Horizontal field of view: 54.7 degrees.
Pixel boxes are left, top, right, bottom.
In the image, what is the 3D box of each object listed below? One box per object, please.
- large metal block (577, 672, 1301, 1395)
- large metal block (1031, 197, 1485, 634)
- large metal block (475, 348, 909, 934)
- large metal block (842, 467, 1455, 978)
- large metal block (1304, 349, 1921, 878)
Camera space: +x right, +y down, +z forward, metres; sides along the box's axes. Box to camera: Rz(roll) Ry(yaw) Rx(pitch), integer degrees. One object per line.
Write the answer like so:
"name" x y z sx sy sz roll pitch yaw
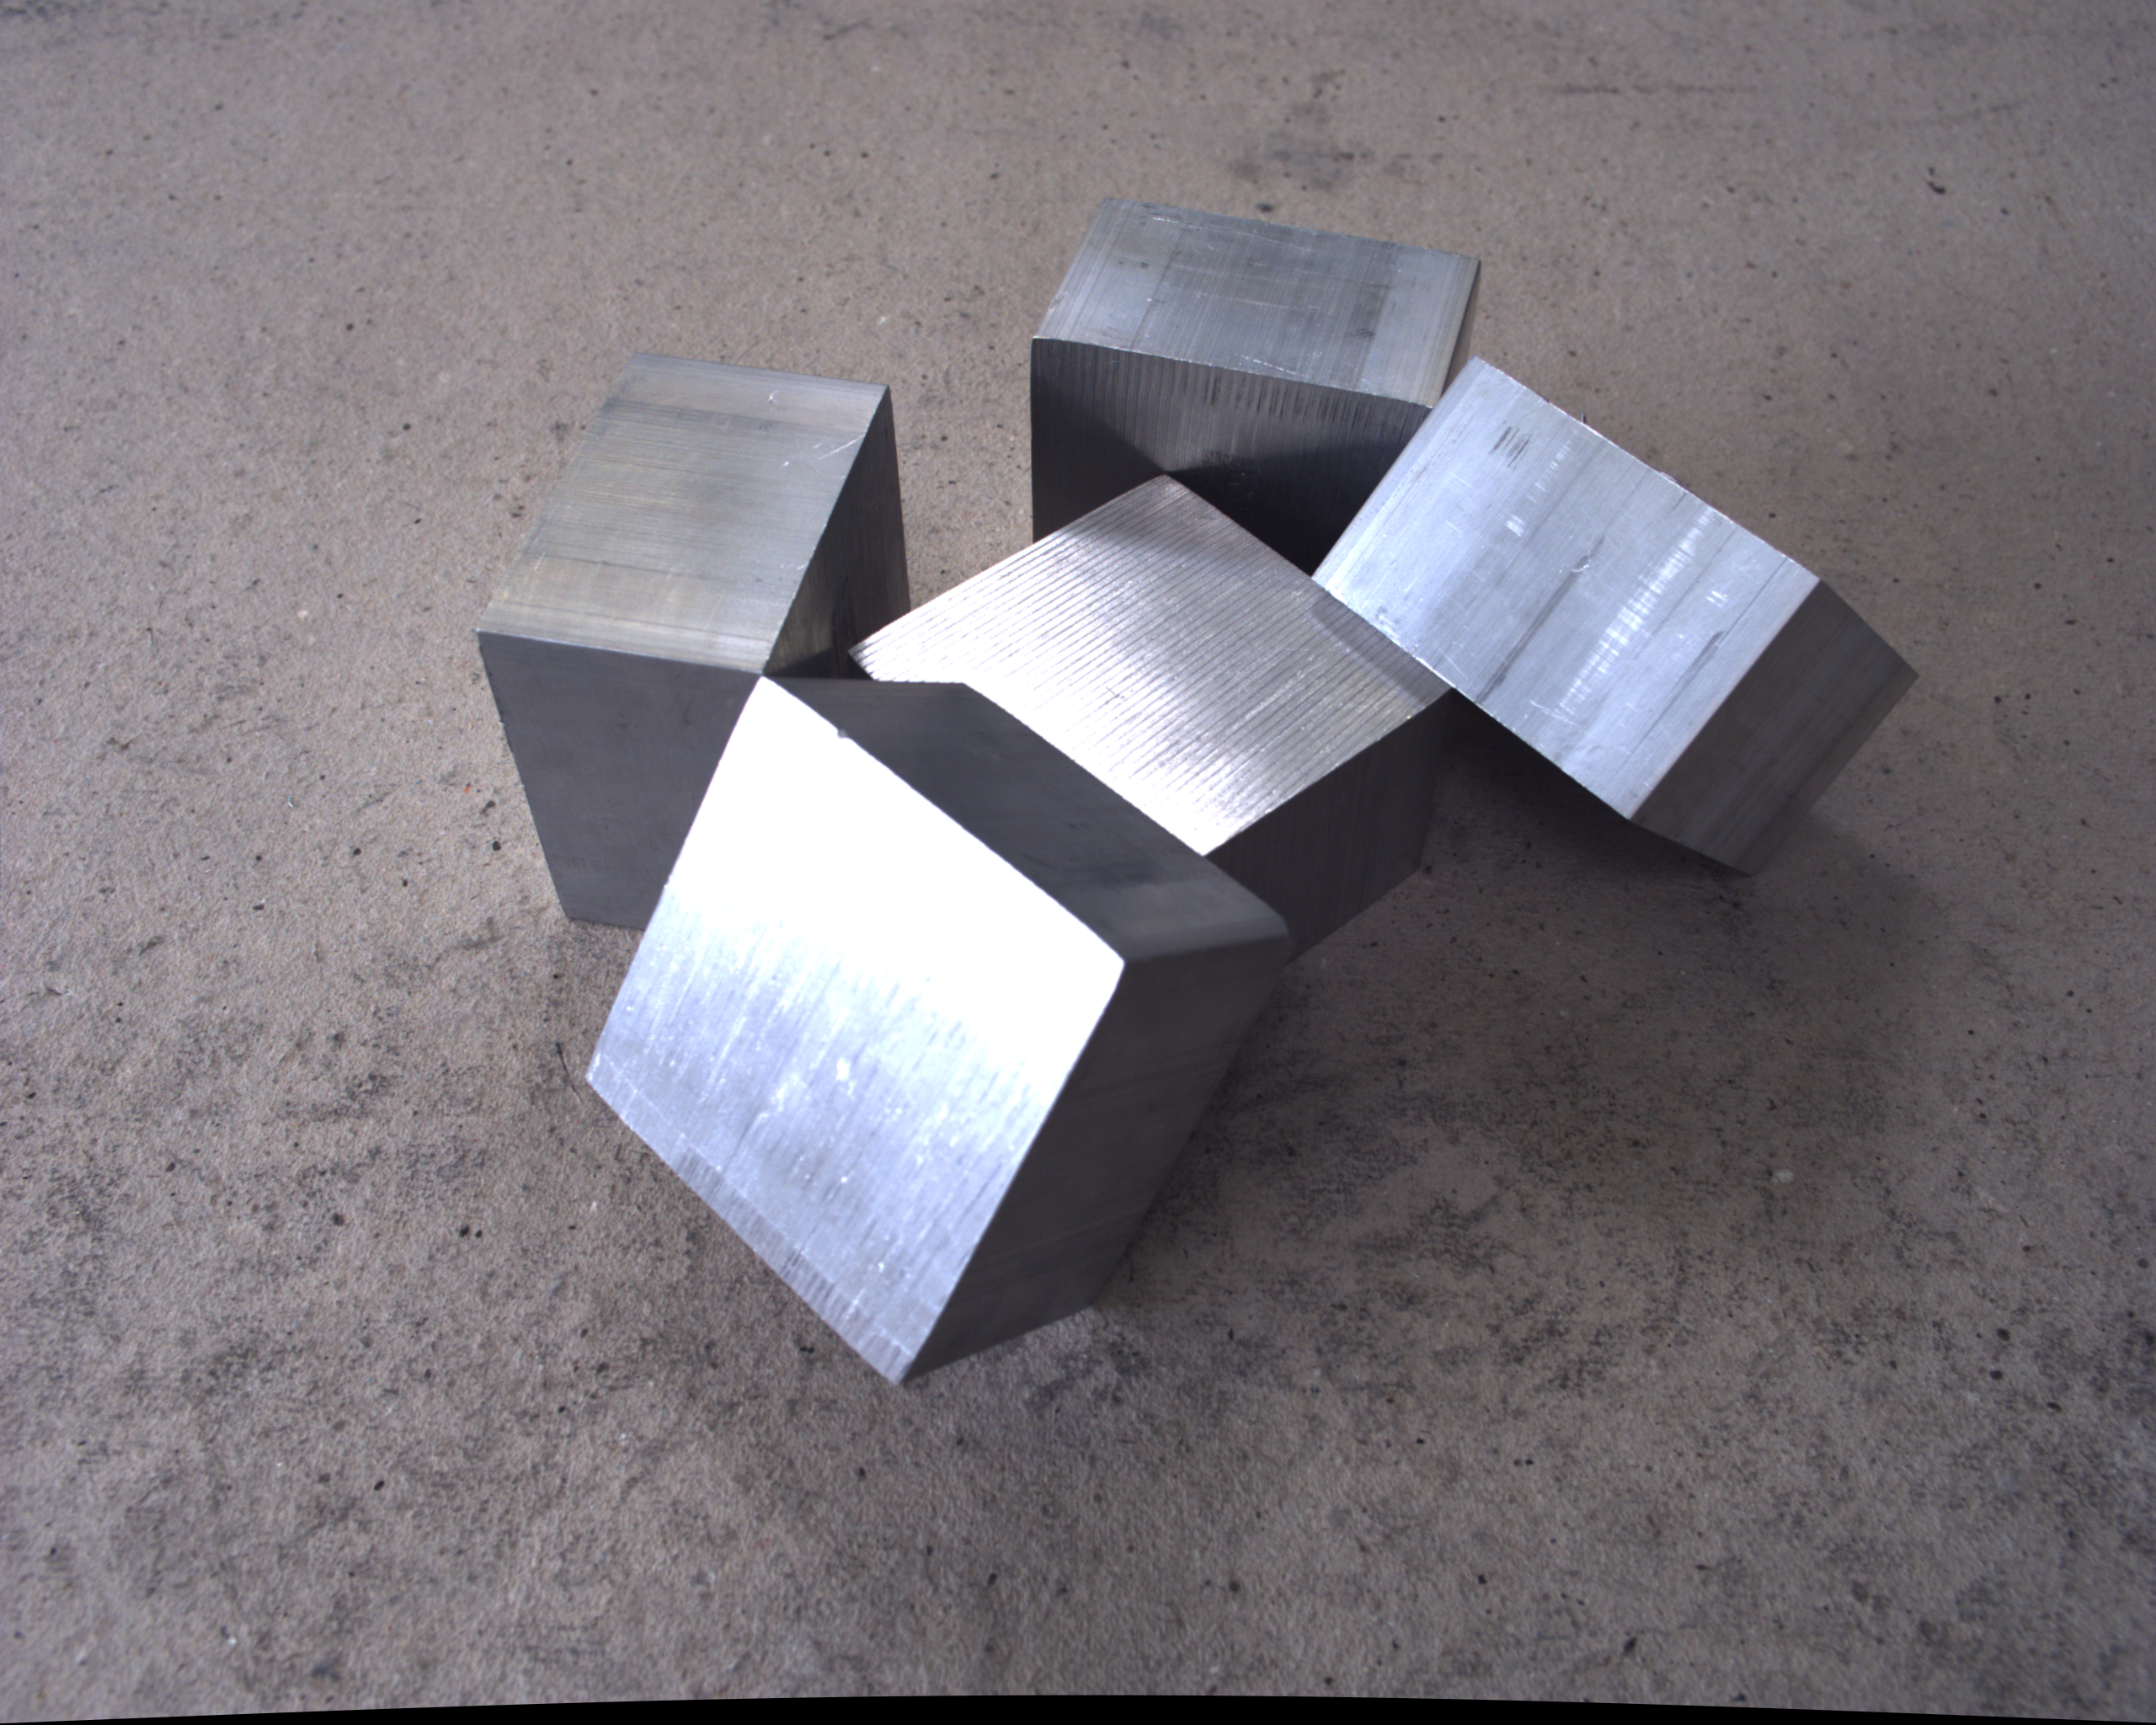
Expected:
"large metal block" -0.025 0.024 0.340 0.080 0.080 0.050 38 23 27
"large metal block" 0.036 -0.086 0.442 0.080 0.080 0.050 12 51 10
"large metal block" -0.068 -0.039 0.403 0.050 0.080 0.080 9 52 7
"large metal block" 0.013 -0.020 0.403 0.080 0.050 0.080 -34 59 -25
"large metal block" 0.104 -0.045 0.400 0.080 0.080 0.050 43 106 30
